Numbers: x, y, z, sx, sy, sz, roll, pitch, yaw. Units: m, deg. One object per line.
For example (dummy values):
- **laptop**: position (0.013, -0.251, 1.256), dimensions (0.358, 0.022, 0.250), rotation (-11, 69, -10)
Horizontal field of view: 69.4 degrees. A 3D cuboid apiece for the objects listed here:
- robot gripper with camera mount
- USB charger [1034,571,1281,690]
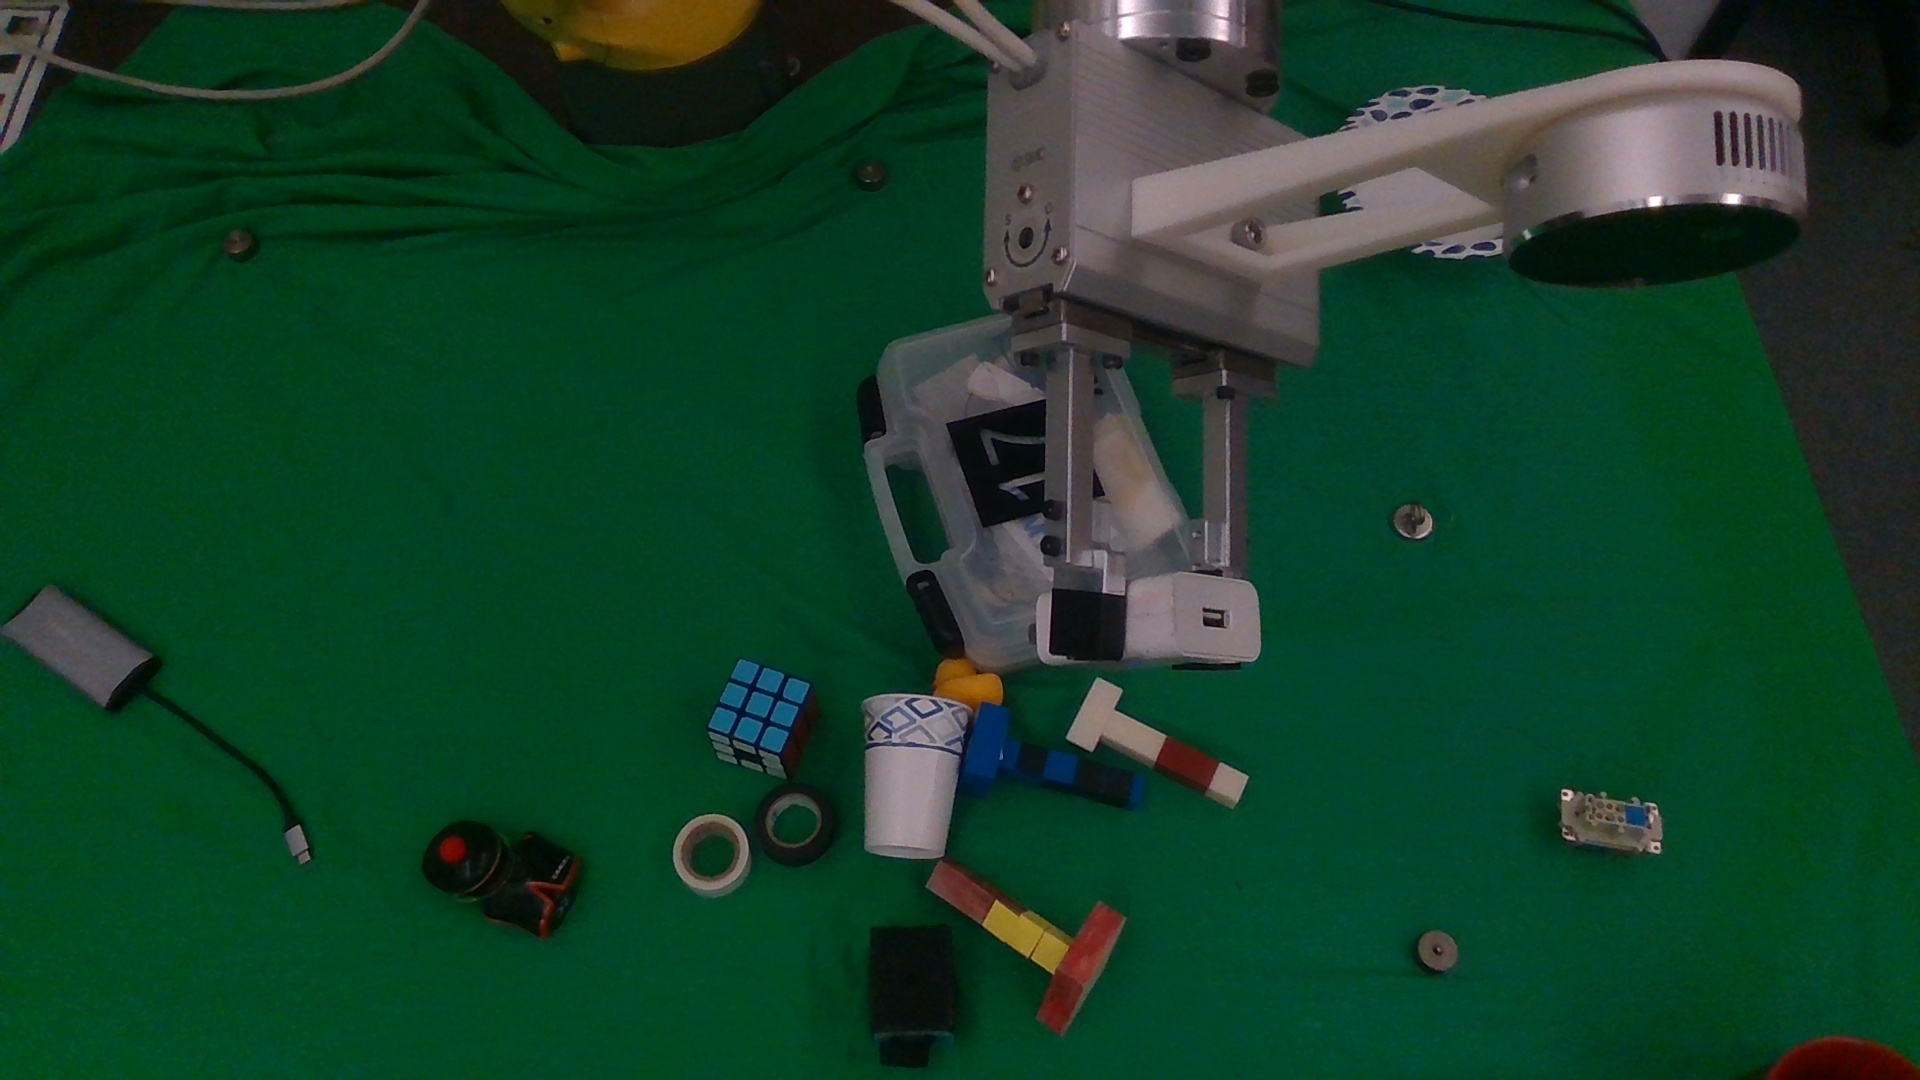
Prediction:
- **robot gripper with camera mount**: position (0.112, -0.055, 0.356), dimensions (0.118, 0.194, 0.158), rotation (7, 78, -42)
- **USB charger**: position (0.051, 0.026, 0.406), dimensions (0.044, 0.076, 0.029), rotation (16, 78, -34)
